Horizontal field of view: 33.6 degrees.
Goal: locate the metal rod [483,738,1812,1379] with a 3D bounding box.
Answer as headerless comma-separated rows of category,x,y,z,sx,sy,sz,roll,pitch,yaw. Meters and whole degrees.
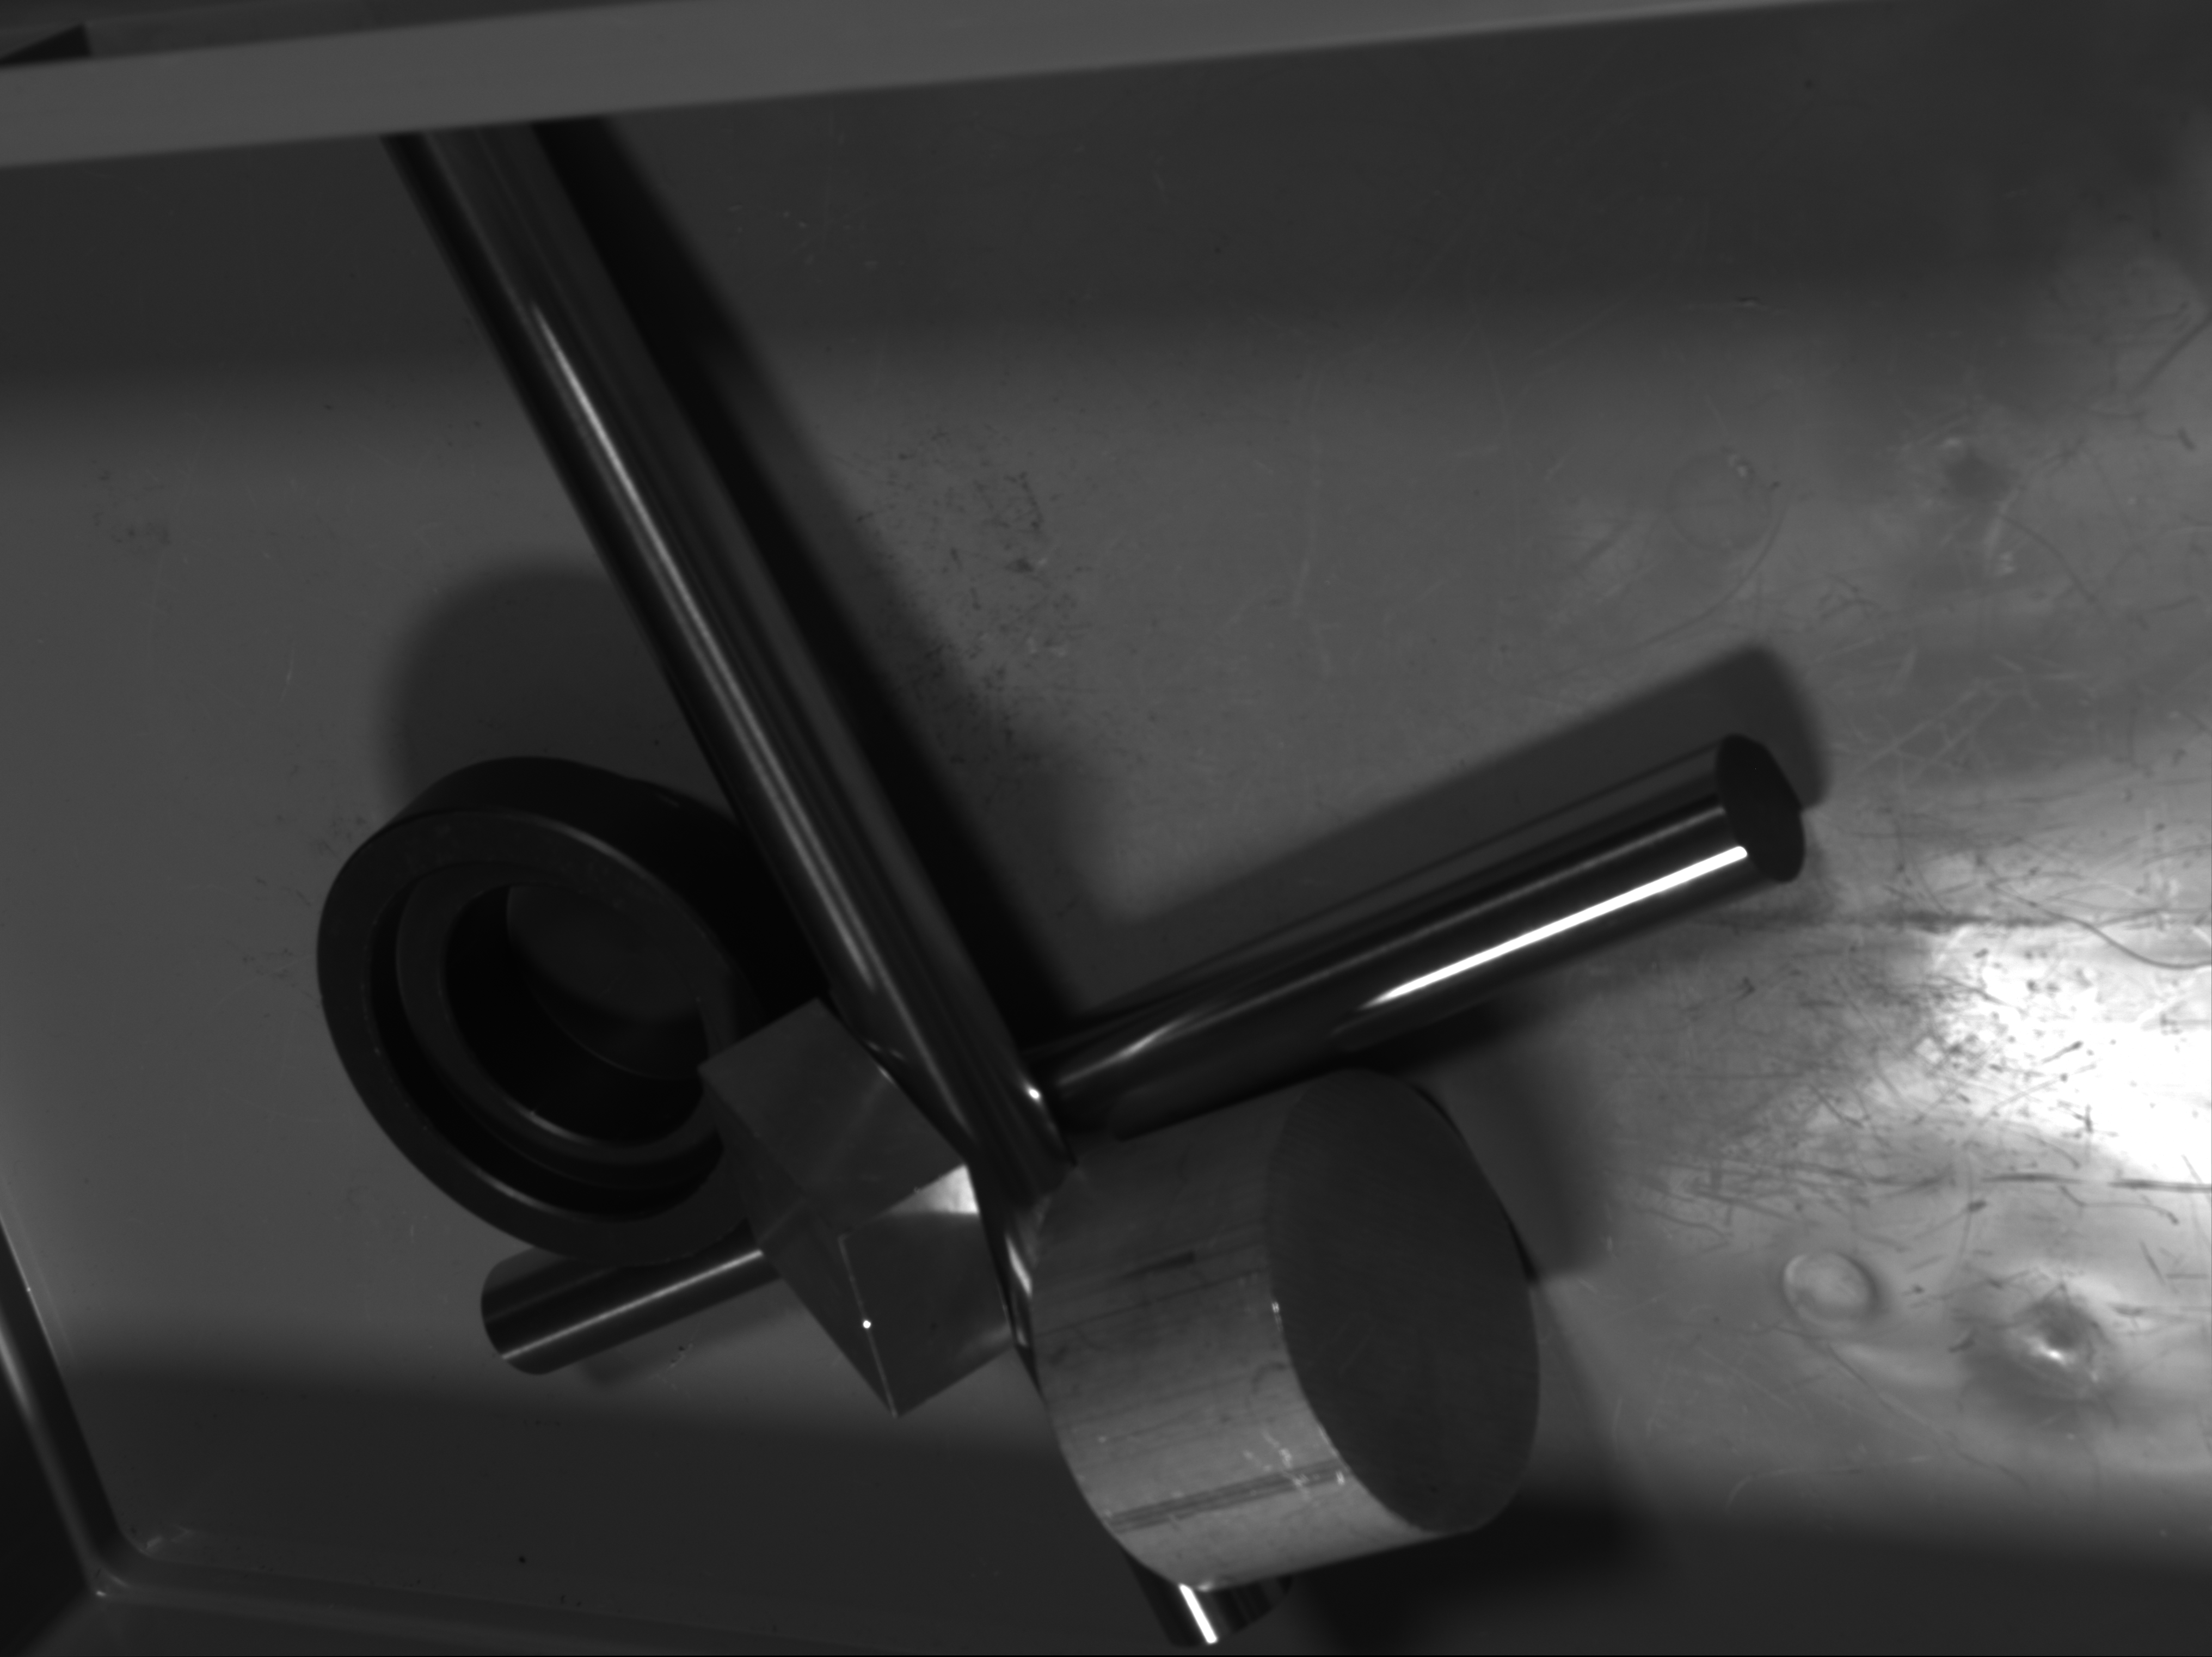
metal rod,-0.007,0.049,0.663,0.299,0.025,0.025,-25,105,35

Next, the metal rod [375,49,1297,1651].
metal rod,-0.044,0.008,0.634,0.025,0.025,0.300,-21,101,34

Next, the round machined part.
round machined part,-0.094,0.029,0.684,0.098,0.042,0.098,12,123,20

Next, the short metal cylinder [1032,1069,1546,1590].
short metal cylinder,0.032,0.087,0.631,0.050,0.080,0.080,-21,107,34

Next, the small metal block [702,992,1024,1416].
small metal block,-0.042,0.065,0.638,0.050,0.025,0.050,44,156,41
